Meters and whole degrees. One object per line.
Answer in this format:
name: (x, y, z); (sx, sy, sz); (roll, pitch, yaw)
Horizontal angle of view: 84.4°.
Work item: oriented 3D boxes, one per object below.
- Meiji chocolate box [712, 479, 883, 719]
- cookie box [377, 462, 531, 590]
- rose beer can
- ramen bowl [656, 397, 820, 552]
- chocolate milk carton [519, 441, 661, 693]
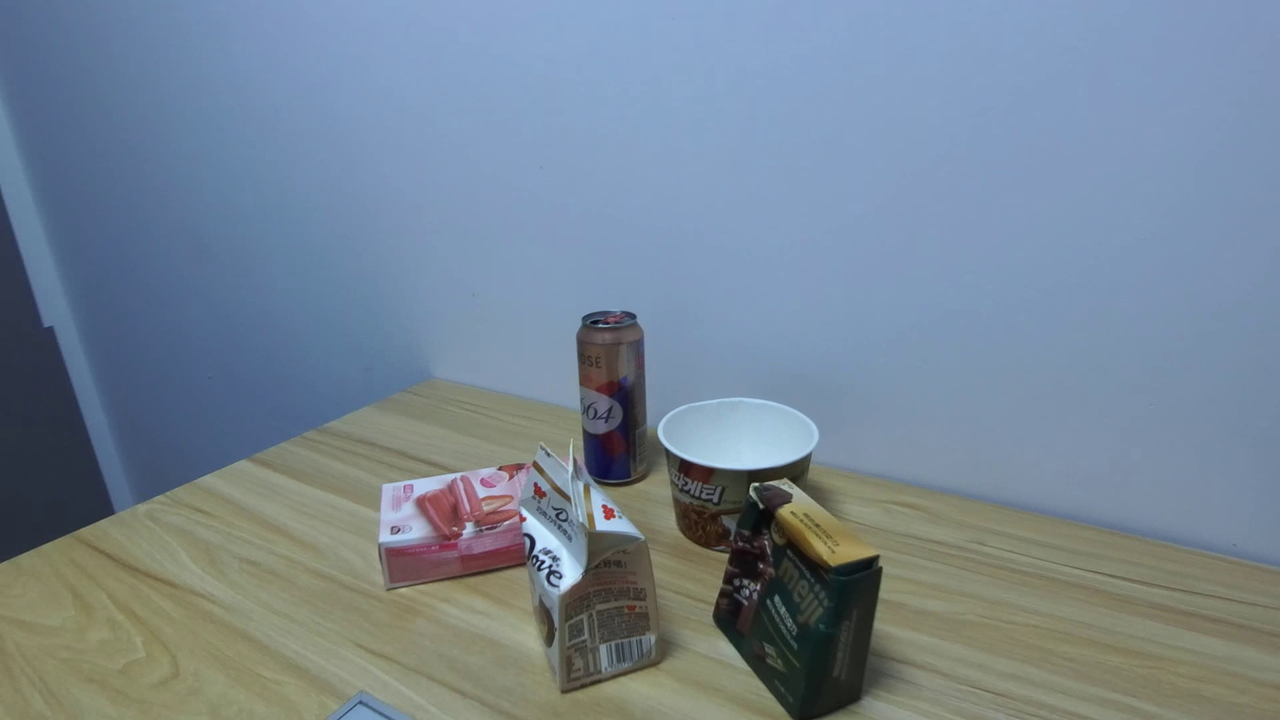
Meiji chocolate box: (0.103, 0.152, 0.467); (0.052, 0.117, 0.117); (-3, 19, -24)
cookie box: (-0.132, 0.140, 0.624); (0.188, 0.049, 0.105); (-7, 20, -15)
rose beer can: (-0.027, 0.040, 0.714); (0.068, 0.169, 0.068); (-1, 19, 1)
ramen bowl: (0.087, 0.103, 0.631); (0.140, 0.095, 0.140); (-3, 20, 1)
chocolate milk carton: (-0.036, 0.131, 0.475); (0.074, 0.155, 0.076); (-11, 23, -18)
